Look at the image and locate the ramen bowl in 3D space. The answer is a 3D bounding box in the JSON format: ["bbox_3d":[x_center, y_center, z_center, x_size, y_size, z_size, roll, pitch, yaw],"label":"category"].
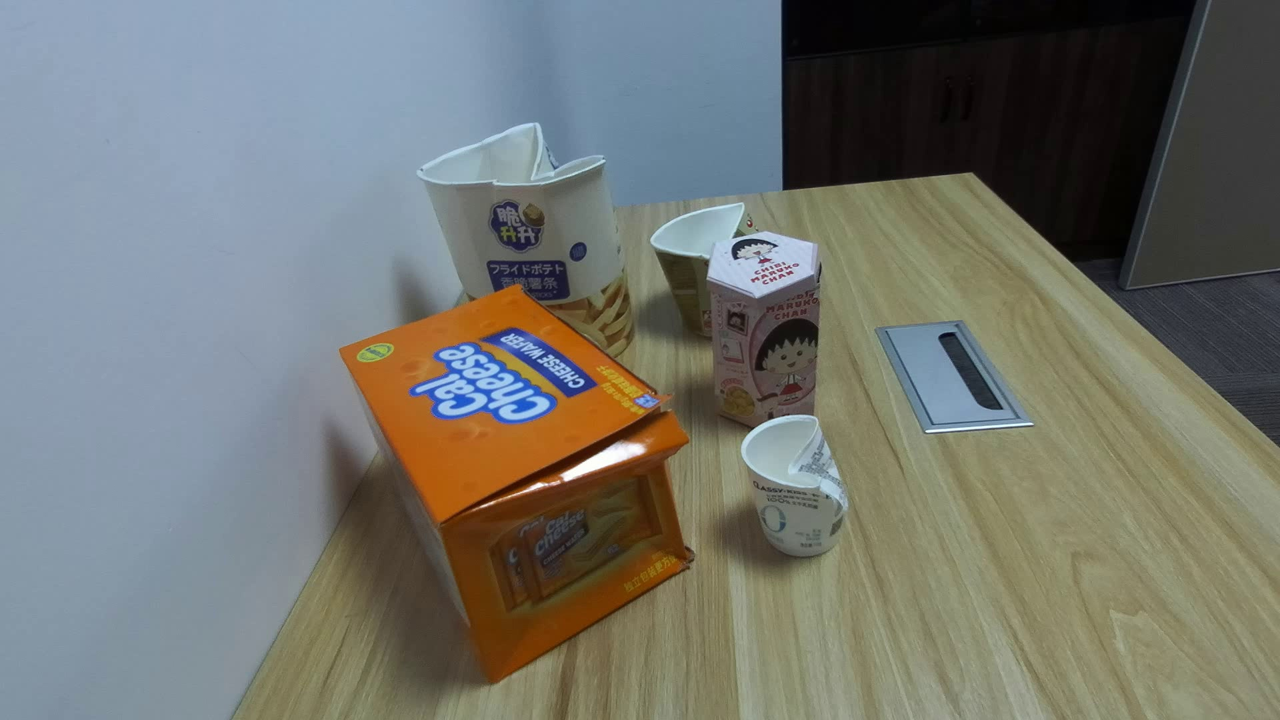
[{"bbox_3d":[0.086,-0.090,0.716,0.137,0.098,0.137,-5,33,4],"label":"ramen bowl"}]

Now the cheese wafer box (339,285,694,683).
[{"bbox_3d":[-0.086,0.060,0.474,0.150,0.137,0.226,-24,35,-24],"label":"cheese wafer box"}]

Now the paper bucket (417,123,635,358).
[{"bbox_3d":[-0.081,-0.101,0.669,0.162,0.202,0.169,19,43,32],"label":"paper bucket"}]

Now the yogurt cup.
[{"bbox_3d":[0.100,0.083,0.455,0.067,0.070,0.067,-5,35,4],"label":"yogurt cup"}]

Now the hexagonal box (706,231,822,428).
[{"bbox_3d":[0.099,-0.023,0.559,0.092,0.135,0.084,-14,33,-9],"label":"hexagonal box"}]
